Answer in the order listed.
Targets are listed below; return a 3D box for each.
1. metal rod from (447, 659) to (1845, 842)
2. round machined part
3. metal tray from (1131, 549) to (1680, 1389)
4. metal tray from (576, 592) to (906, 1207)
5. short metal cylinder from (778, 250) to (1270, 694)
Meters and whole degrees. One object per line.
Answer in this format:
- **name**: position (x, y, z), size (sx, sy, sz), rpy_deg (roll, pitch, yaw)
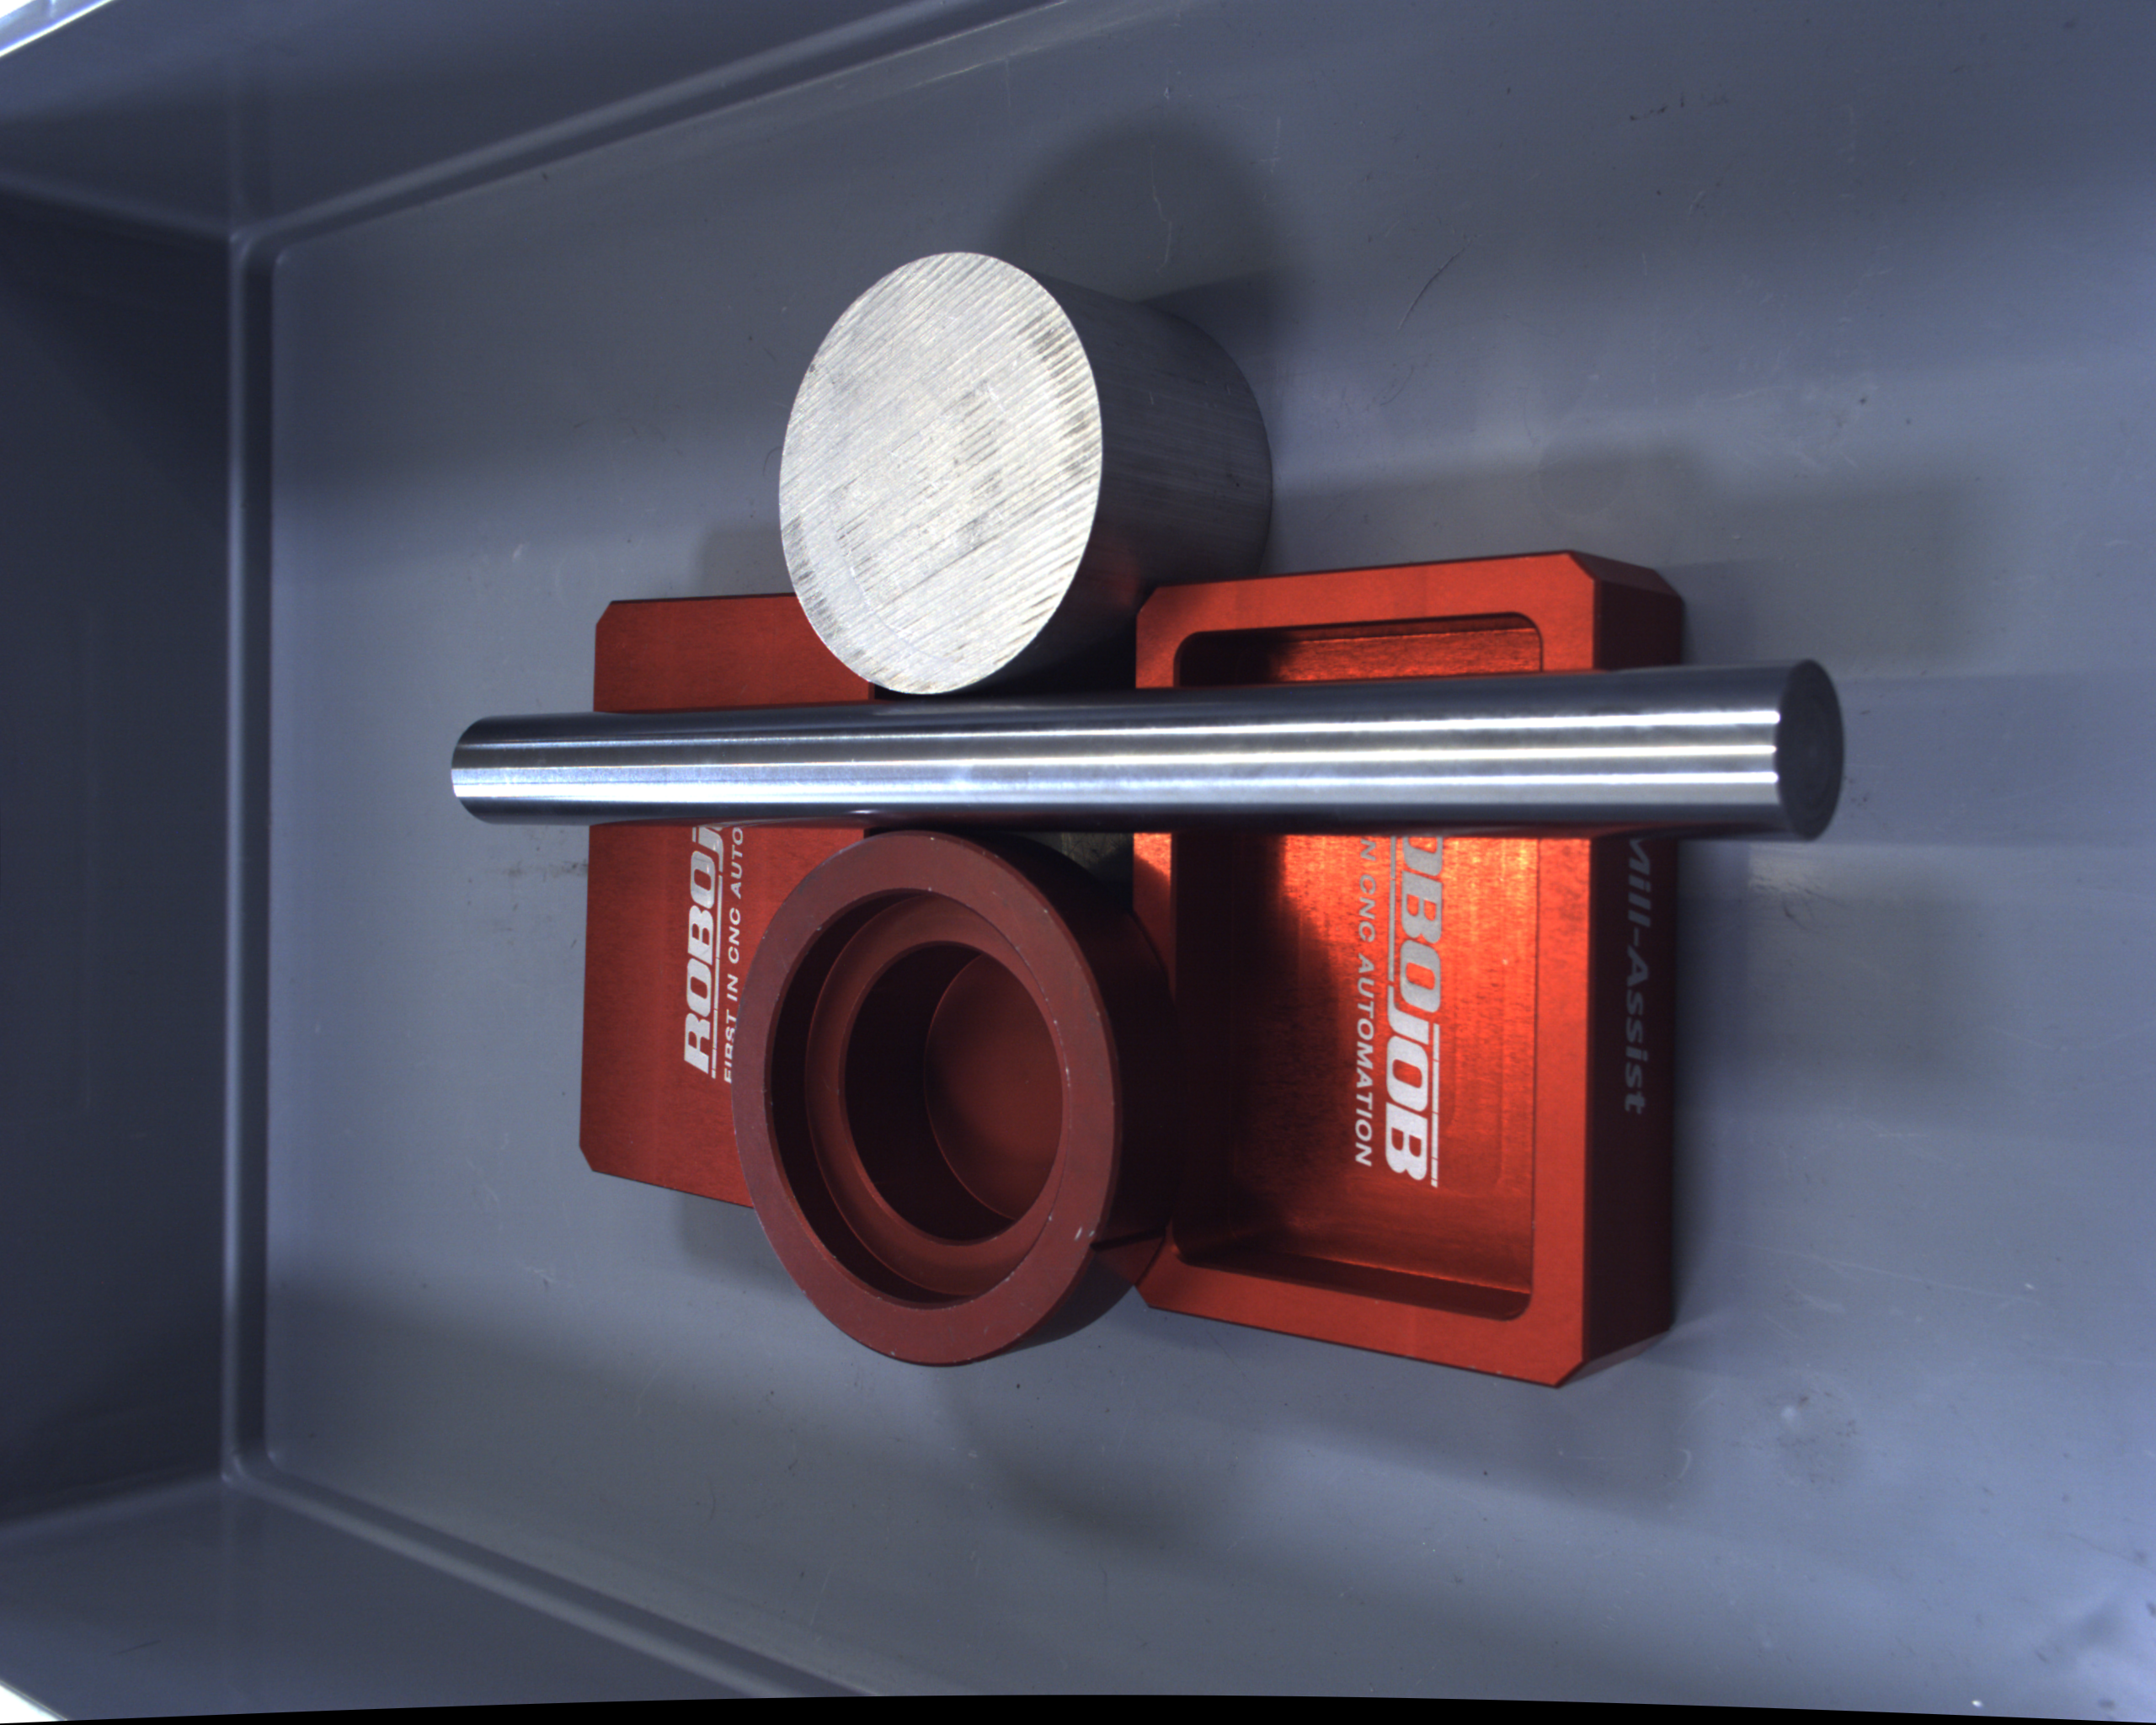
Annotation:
- **metal rod**: position (-0.016, -0.018, 0.378), size (0.300, 0.025, 0.025), rpy_deg (1, 91, 39)
- **round machined part**: position (-0.018, 0.043, 0.396), size (0.098, 0.042, 0.097), rpy_deg (0, 90, 40)
- **metal tray**: position (0.053, 0.016, 0.357), size (0.090, 0.030, 0.129), rpy_deg (1, 91, 40)
- **metal tray**: position (-0.069, 0.007, 0.456), size (0.090, 0.030, 0.129), rpy_deg (4, 92, 40)
- **short metal cylinder**: position (-0.011, -0.071, 0.397), size (0.080, 0.050, 0.079), rpy_deg (0, 90, 40)
